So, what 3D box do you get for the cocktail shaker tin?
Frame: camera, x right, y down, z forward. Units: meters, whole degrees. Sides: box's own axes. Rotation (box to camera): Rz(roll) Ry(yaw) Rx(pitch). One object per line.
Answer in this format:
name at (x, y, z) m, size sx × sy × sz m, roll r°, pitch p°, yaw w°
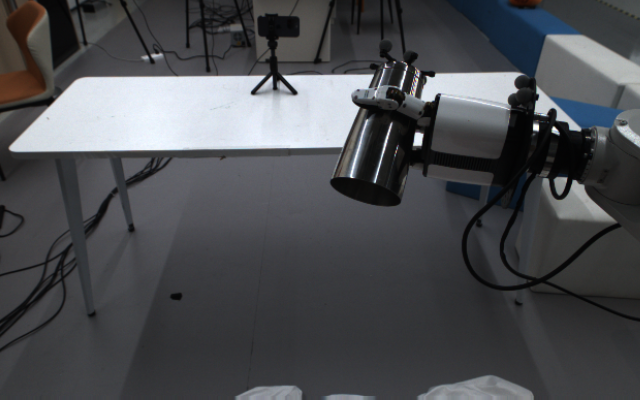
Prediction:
cocktail shaker tin at (0.082, -0.087, 0.619) m, size 0.093 × 0.093 × 0.170 m, roll 14°, pitch 75°, yaw 16°
